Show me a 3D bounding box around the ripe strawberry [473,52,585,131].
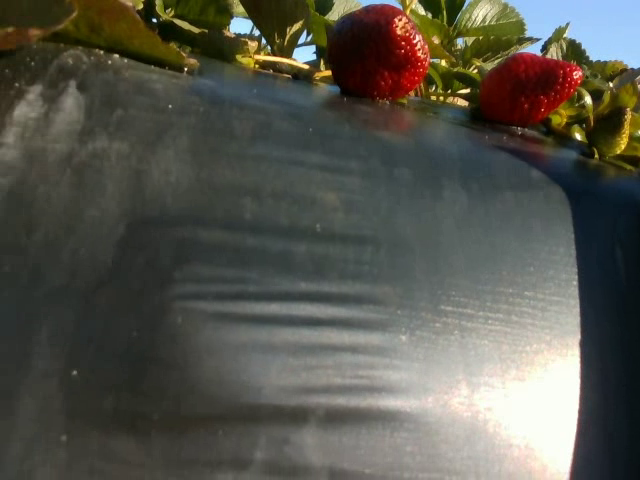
[{"bbox_3d":[0.093,-0.066,0.259,0.042,0.039,0.049,-33,13,-28],"label":"ripe strawberry"}]

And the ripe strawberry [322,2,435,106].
[{"bbox_3d":[0.025,-0.079,0.237,0.050,0.045,0.050,26,-10,-4],"label":"ripe strawberry"}]
